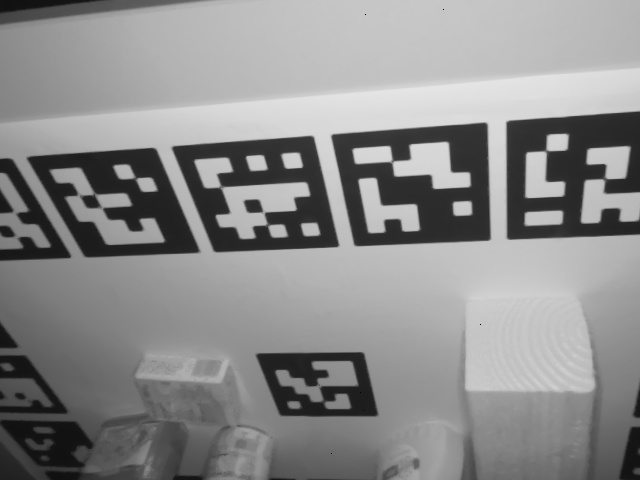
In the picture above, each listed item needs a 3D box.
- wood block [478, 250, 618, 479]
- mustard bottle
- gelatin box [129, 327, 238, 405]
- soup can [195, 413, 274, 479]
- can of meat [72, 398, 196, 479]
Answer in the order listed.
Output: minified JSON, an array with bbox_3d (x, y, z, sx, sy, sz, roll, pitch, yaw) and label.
[{"bbox_3d":[0.178,0.113,0.560,0.090,0.091,0.205,-3,133,13],"label":"wood block"},{"bbox_3d":[0.098,0.230,0.608,0.095,0.193,0.058,-26,122,29],"label":"mustard bottle"},{"bbox_3d":[-0.124,0.116,0.638,0.089,0.030,0.072,2,128,3],"label":"gelatin box"},{"bbox_3d":[-0.086,0.229,0.675,0.068,0.103,0.067,4,129,5],"label":"soup can"},{"bbox_3d":[-0.182,0.207,0.694,0.101,0.085,0.058,-15,125,23],"label":"can of meat"}]
